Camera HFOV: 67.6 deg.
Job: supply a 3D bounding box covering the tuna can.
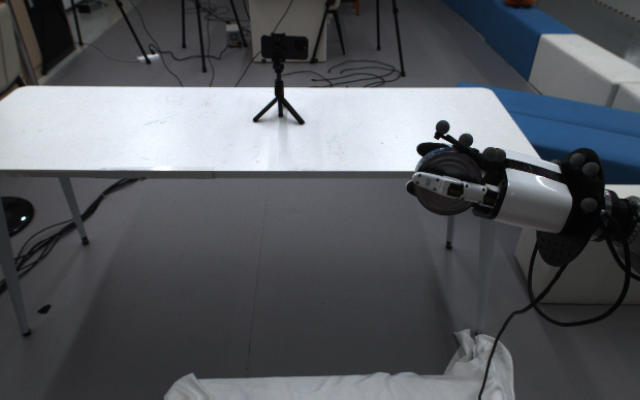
[{"bbox_3d":[0.167,-0.028,0.633,0.085,0.085,0.034,7,16,6],"label":"tuna can"}]
